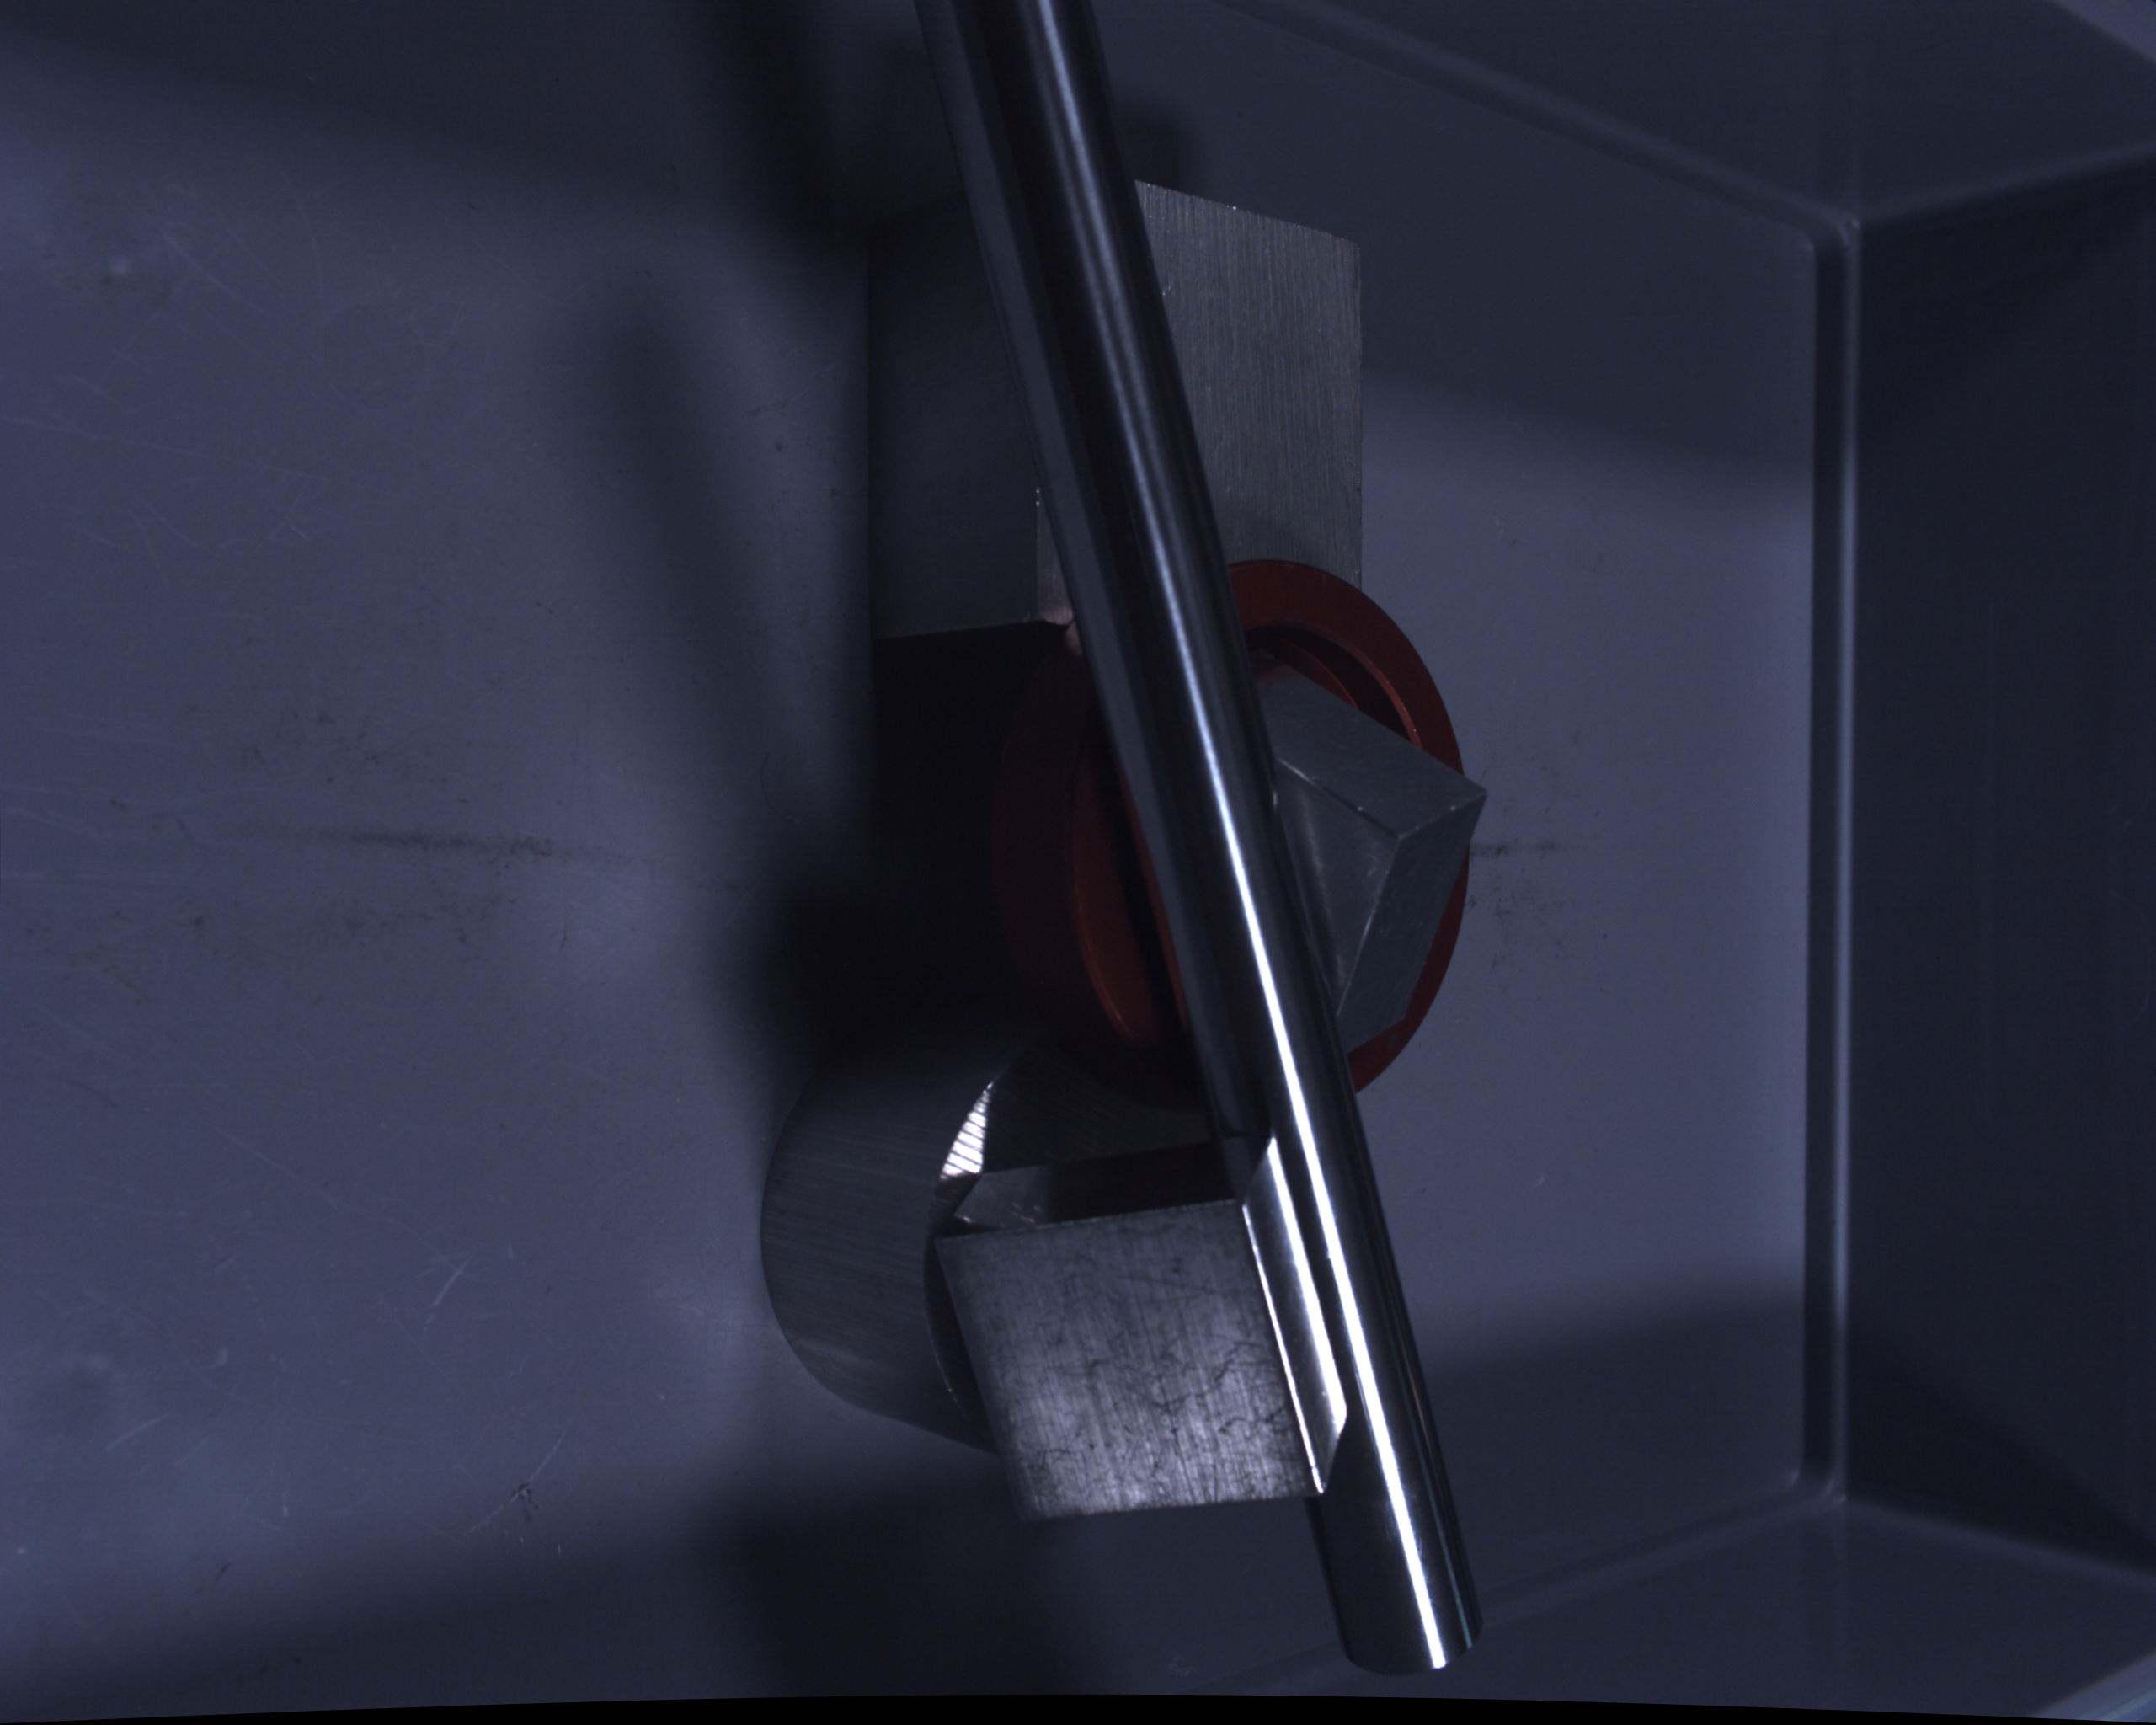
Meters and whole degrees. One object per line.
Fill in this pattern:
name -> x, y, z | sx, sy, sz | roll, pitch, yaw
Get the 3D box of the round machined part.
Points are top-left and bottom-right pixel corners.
round machined part -> 0.023, -0.004, 0.377 | 0.099, 0.042, 0.097 | 0, 90, -40

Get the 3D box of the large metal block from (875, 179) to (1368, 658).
large metal block -> 0.009, -0.080, 0.396 | 0.081, 0.050, 0.079 | 0, 90, -40

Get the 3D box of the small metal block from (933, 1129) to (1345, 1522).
small metal block -> 0.011, 0.074, 0.331 | 0.025, 0.050, 0.050 | -47, 124, -69

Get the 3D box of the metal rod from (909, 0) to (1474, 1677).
metal rod -> 0.019, -0.007, 0.332 | 0.025, 0.025, 0.298 | -25, 106, -38

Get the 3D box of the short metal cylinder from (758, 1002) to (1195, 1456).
short metal cylinder -> -0.011, 0.066, 0.382 | 0.081, 0.050, 0.079 | 0, 90, -40

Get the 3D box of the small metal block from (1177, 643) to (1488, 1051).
small metal block -> 0.036, -0.002, 0.358 | 0.025, 0.050, 0.050 | -25, 141, -41
